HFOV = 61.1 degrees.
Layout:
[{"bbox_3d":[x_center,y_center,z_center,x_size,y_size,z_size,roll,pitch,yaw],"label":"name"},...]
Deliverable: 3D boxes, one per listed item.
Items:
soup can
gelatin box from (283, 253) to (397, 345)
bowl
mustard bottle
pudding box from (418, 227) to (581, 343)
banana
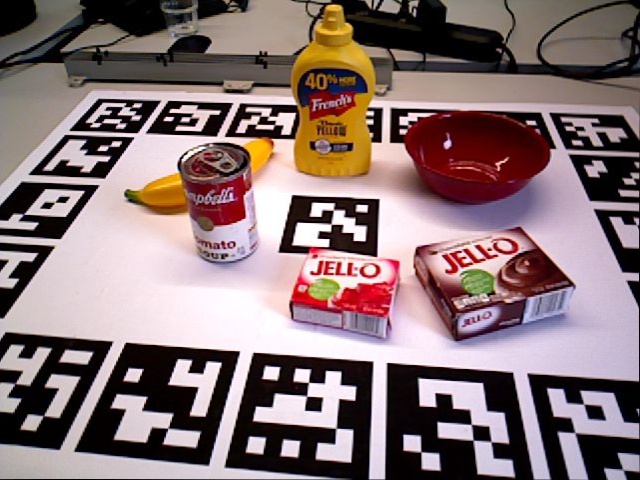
[{"bbox_3d":[-0.103,-0.044,0.530,0.067,0.104,0.067,1,39,-1],"label":"soup can"},{"bbox_3d":[0.019,0.050,0.485,0.089,0.031,0.072,8,44,12],"label":"gelatin box"},{"bbox_3d":[0.184,-0.085,0.624,0.161,0.056,0.159,-2,39,1],"label":"bowl"},{"bbox_3d":[0.017,-0.171,0.601,0.096,0.196,0.057,4,38,6],"label":"mustard bottle"},{"bbox_3d":[0.157,0.037,0.487,0.112,0.039,0.089,-12,47,-12],"label":"pudding box"},{"bbox_3d":[-0.132,-0.086,0.645,0.193,0.039,0.074,-30,37,-29],"label":"banana"}]
